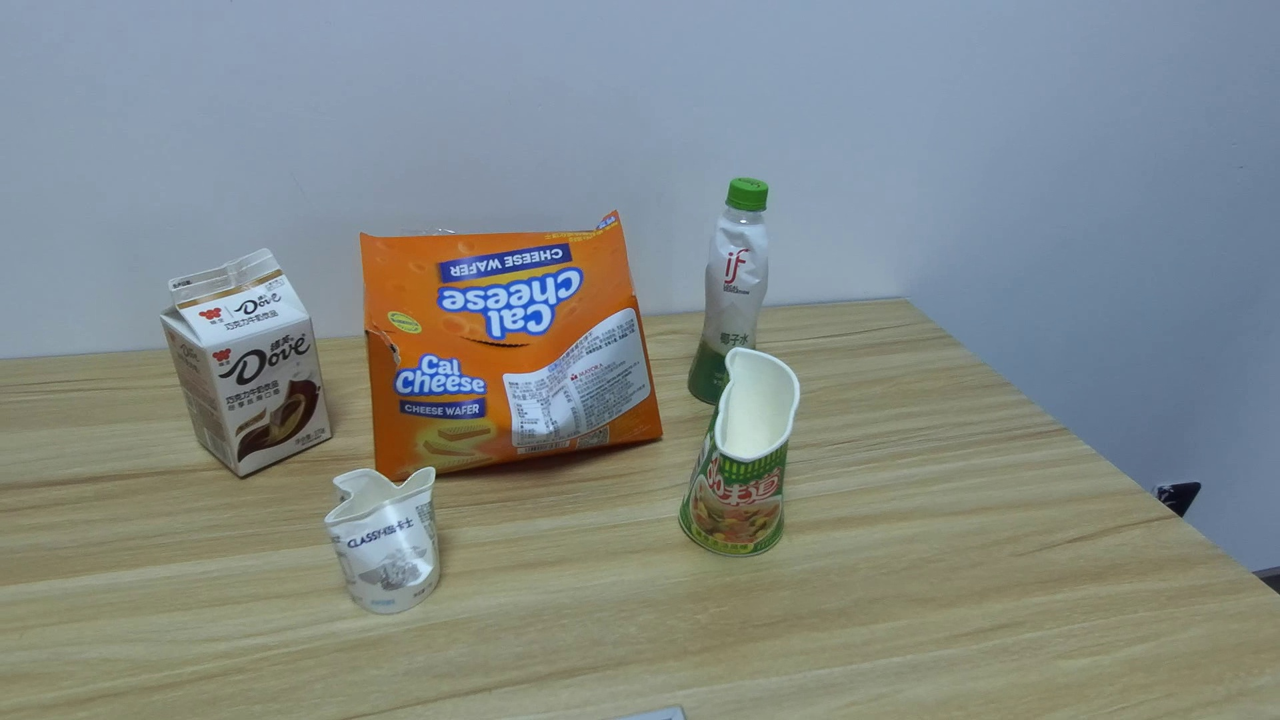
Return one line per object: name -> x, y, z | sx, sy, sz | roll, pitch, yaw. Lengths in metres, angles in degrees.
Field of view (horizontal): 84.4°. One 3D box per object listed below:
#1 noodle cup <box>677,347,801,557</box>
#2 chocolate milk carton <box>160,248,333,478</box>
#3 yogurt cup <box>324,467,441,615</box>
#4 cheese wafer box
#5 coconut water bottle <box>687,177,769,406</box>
noodle cup -> 0.065, 0.066, 0.460 | 0.070, 0.111, 0.115 | 19, 34, 25
chocolate milk carton -> -0.283, -0.003, 0.508 | 0.073, 0.148, 0.075 | 24, 35, 31
yogurt cup -> -0.147, 0.102, 0.415 | 0.055, 0.072, 0.055 | -1, 30, -6
cheese wafer box -> -0.098, -0.013, 0.552 | 0.219, 0.145, 0.190 | -6, 31, -15
coconut water bottle -> 0.077, -0.054, 0.588 | 0.067, 0.187, 0.067 | 5, 25, -2
